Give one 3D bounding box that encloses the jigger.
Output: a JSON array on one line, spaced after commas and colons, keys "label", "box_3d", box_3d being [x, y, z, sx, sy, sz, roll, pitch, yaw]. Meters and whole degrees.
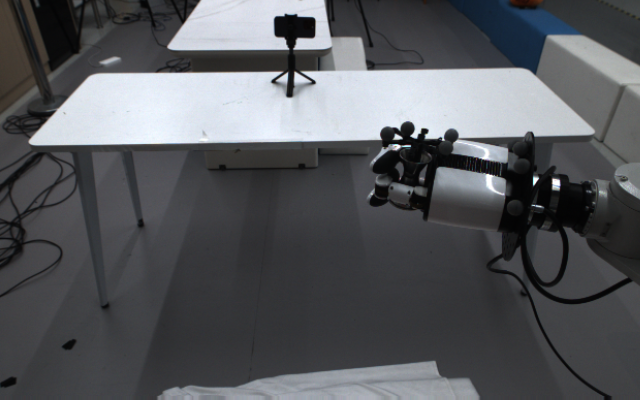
[{"label": "jigger", "box_3d": [0.119, -0.028, 0.620, 0.043, 0.071, 0.043, 4, 31, -2]}]
